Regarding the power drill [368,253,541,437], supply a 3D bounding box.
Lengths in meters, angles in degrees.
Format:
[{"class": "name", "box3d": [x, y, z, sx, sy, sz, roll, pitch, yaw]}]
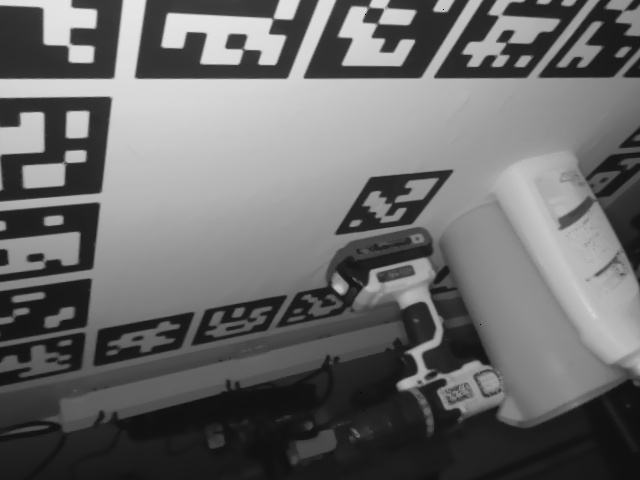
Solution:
[{"class": "power drill", "box3d": [0.116, 0.107, 0.723, 0.187, 0.187, 0.056, -6, 143, -19]}]

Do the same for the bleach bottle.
[{"class": "bleach bottle", "box3d": [0.321, 0.036, 0.701, 0.104, 0.251, 0.067, -12, 148, -20]}]

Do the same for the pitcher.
[{"class": "pitcher", "box3d": [0.276, 0.082, 0.780, 0.189, 0.243, 0.133, -22, 149, -4]}]
